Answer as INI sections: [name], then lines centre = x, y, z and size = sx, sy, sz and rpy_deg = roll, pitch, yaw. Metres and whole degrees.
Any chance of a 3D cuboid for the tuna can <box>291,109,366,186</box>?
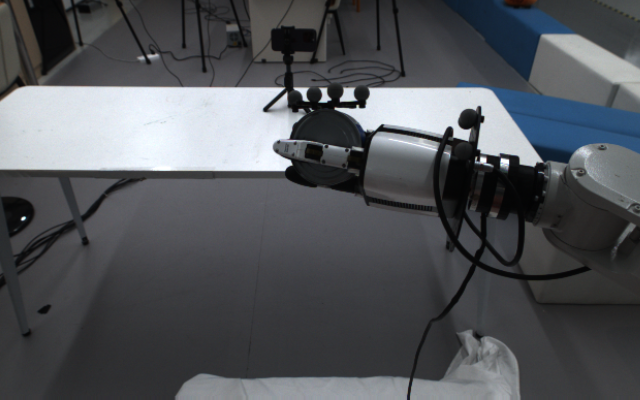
[tuna can]
centre = 0.011, -0.061, 0.555
size = 0.085, 0.085, 0.034
rpy_deg = 15, 10, 18
